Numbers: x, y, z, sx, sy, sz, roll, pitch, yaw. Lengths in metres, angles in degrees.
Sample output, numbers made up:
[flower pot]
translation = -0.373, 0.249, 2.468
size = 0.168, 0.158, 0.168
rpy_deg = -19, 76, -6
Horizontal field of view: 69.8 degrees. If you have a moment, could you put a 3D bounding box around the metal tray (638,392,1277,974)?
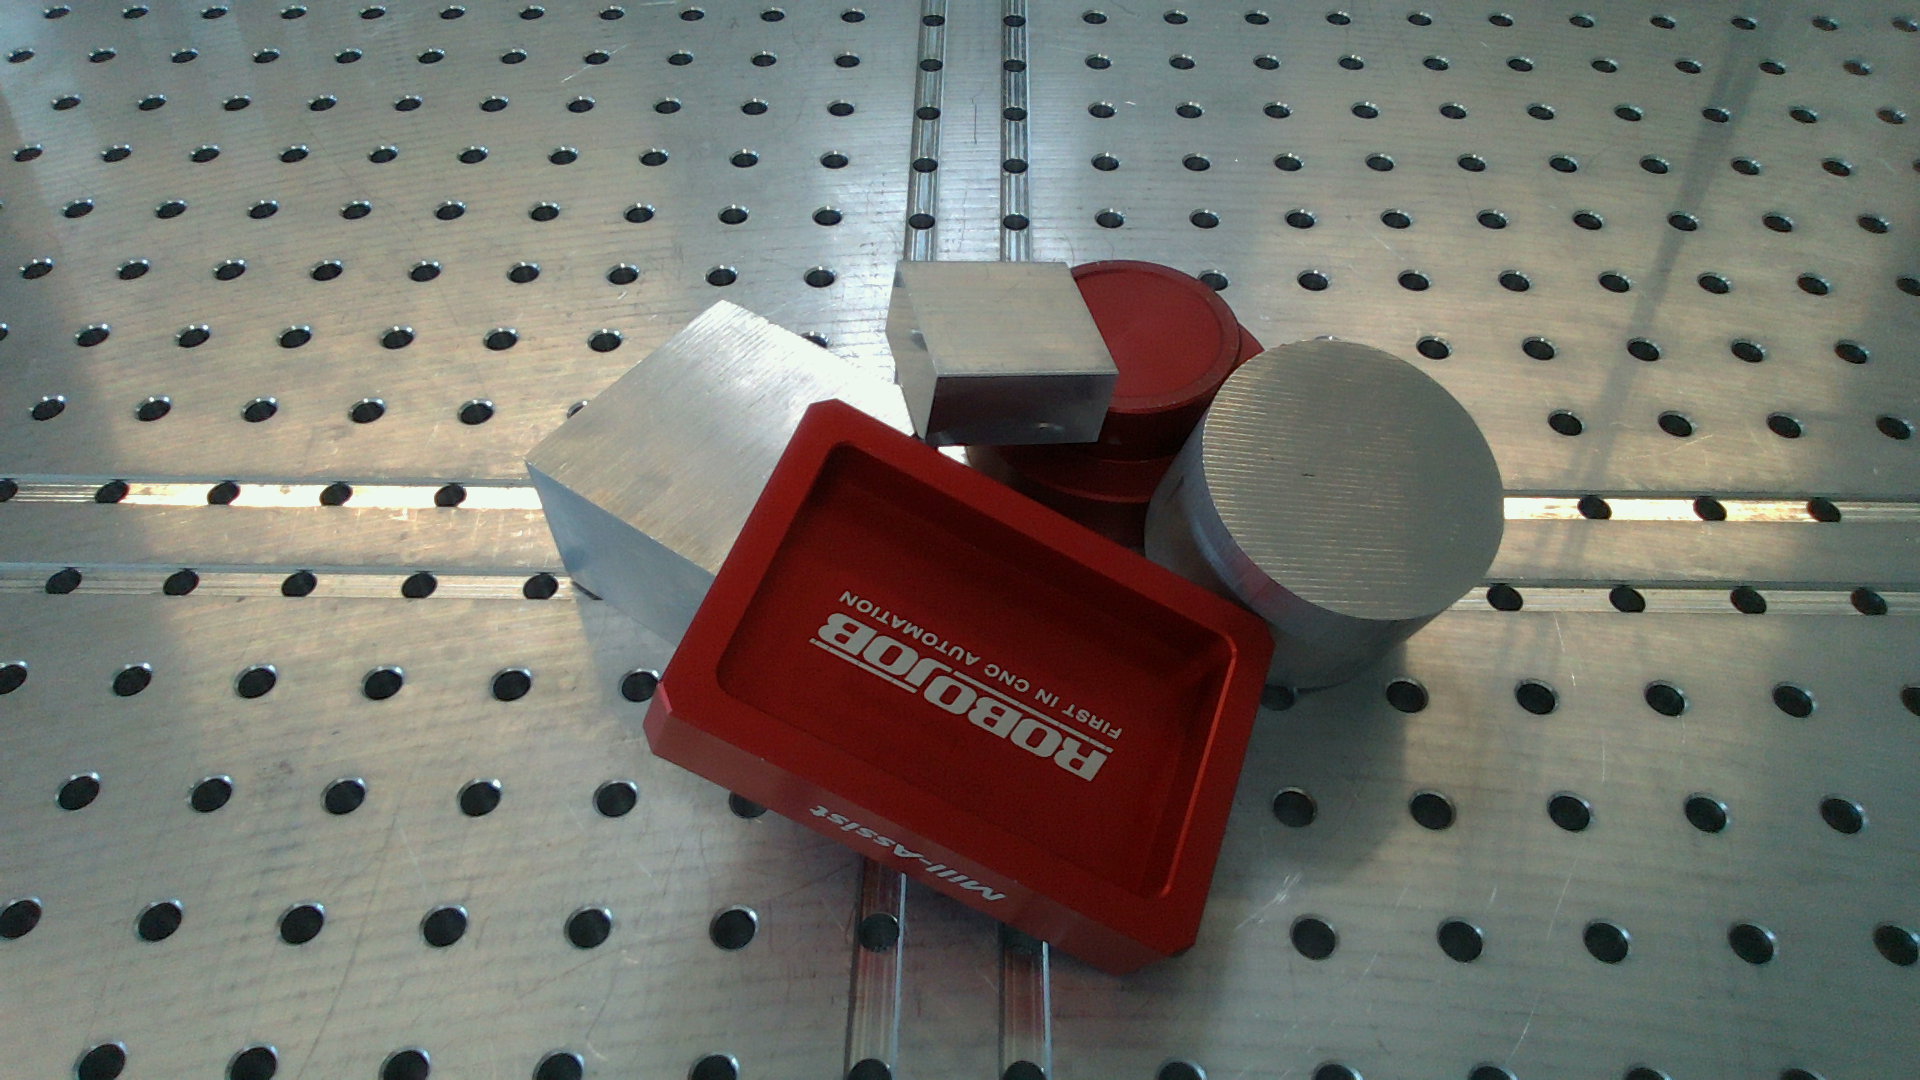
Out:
[metal tray]
translation = 0.003, 0.033, 0.326
size = 0.130, 0.030, 0.090
rpy_deg = 27, 59, -6

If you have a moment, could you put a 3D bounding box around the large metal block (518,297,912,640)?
[large metal block]
translation = -0.061, -0.013, 0.389
size = 0.080, 0.050, 0.080
rpy_deg = 29, 56, 22

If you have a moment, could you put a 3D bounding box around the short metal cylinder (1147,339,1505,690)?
[short metal cylinder]
translation = 0.096, -0.006, 0.369
size = 0.080, 0.050, 0.080
rpy_deg = 5, 63, -10

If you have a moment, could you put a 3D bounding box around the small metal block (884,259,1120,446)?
[small metal block]
translation = 0.010, -0.052, 0.378
size = 0.050, 0.025, 0.050
rpy_deg = -3, 46, -17

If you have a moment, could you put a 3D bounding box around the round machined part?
[round machined part]
translation = 0.050, -0.049, 0.425
size = 0.098, 0.042, 0.098
rpy_deg = 0, 50, 0
